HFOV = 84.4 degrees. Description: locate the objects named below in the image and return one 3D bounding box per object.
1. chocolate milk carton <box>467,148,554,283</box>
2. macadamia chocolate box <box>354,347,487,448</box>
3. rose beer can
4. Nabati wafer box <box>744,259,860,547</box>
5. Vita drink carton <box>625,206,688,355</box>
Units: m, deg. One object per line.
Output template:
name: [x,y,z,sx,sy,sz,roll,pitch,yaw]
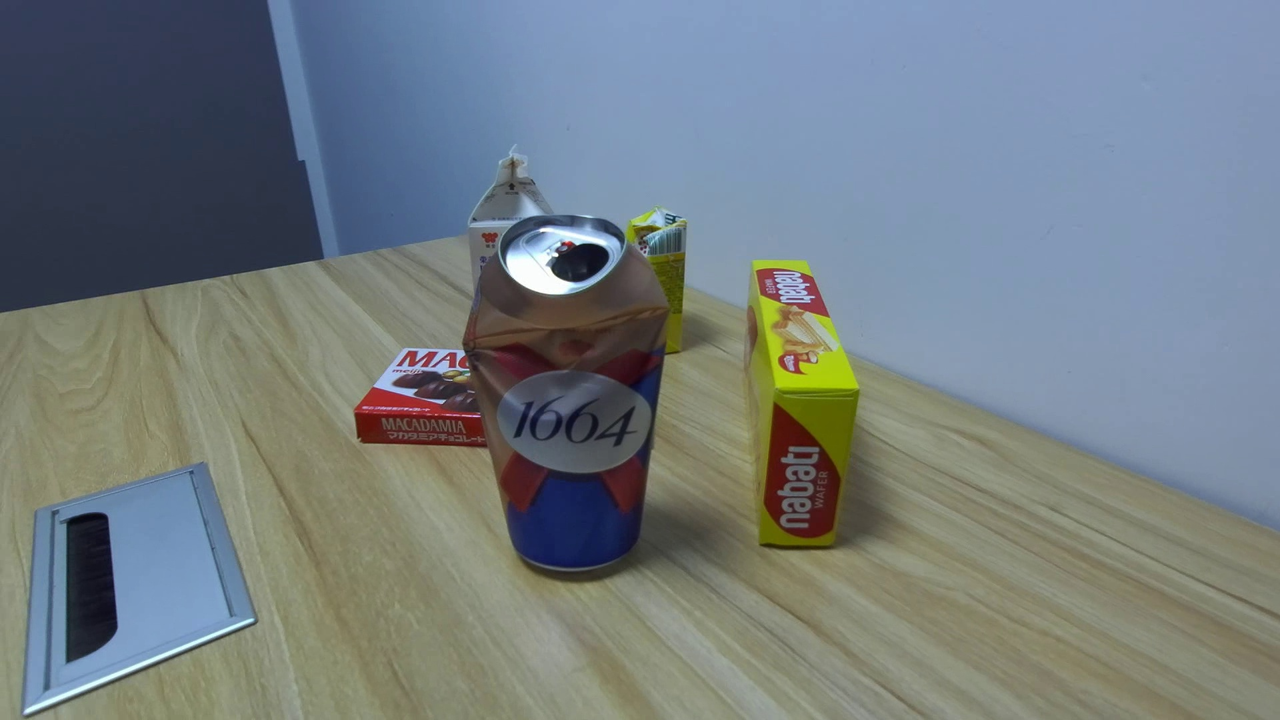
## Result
chocolate milk carton: [-0.091,-0.090,0.575,0.073,0.155,0.084,-2,19,4]
macadamia chocolate box: [-0.085,0.026,0.480,0.187,0.027,0.102,2,29,3]
rose beer can: [-0.032,0.022,0.329,0.069,0.168,0.069,-21,32,-37]
Nabati wafer box: [0.088,0.012,0.428,0.042,0.093,0.203,3,25,5]
Vita drink carton: [0.004,-0.065,0.573,0.046,0.110,0.071,-7,26,-21]
